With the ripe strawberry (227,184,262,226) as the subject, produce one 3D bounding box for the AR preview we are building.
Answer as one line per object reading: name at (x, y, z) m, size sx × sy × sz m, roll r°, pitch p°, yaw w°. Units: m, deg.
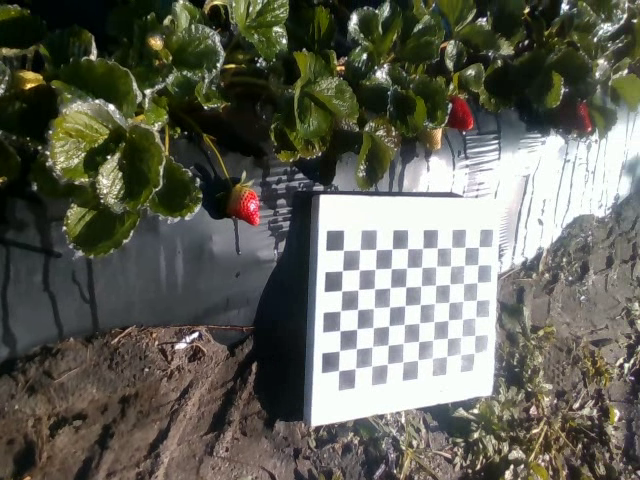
ripe strawberry at (-0.080, -0.034, 0.631) m, size 0.039 × 0.053 × 0.040 m, roll -25°, pitch -1°, yaw -26°
